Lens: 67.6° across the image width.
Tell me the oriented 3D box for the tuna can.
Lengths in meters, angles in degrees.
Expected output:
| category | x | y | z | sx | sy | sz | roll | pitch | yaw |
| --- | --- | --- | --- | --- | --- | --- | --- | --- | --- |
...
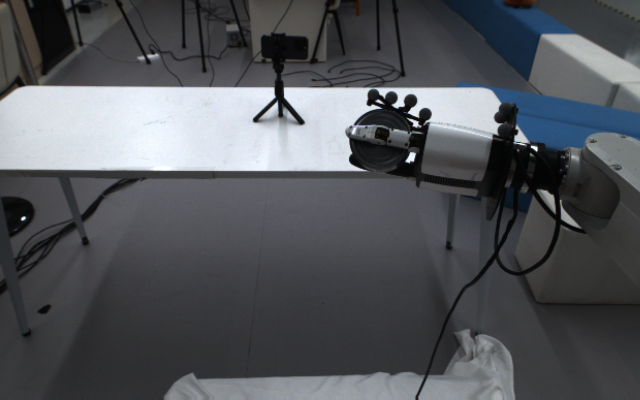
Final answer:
| category | x | y | z | sx | sy | sz | roll | pitch | yaw |
| --- | --- | --- | --- | --- | --- | --- | --- | --- | --- |
| tuna can | 0.087 | -0.085 | 0.683 | 0.085 | 0.085 | 0.034 | 13 | -6 | 16 |
